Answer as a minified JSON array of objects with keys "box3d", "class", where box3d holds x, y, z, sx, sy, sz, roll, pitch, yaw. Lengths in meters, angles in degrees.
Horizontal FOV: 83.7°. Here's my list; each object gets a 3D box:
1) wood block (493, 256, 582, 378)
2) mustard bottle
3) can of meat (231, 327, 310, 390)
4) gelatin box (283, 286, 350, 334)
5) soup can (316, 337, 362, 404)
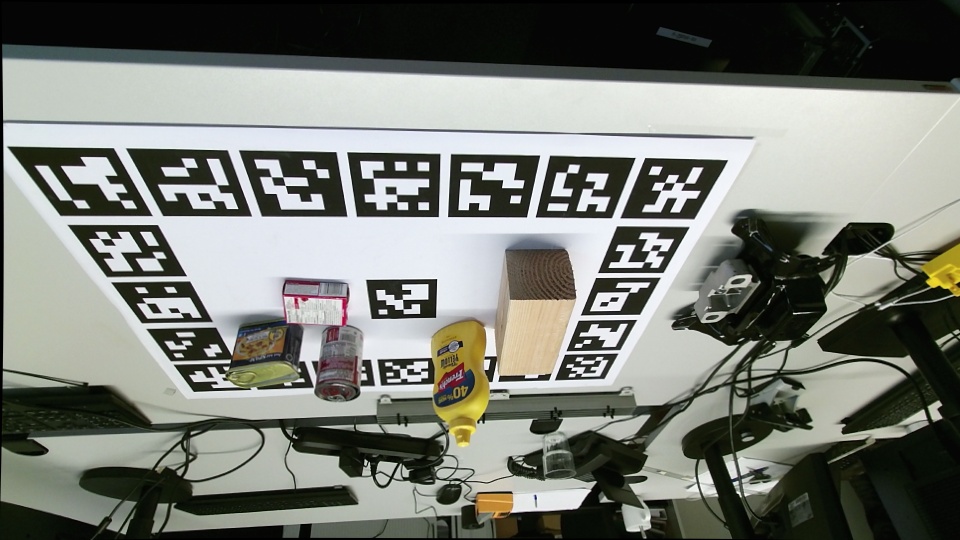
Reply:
[{"box3d":[0.077,0.077,0.797,0.091,0.089,0.206,1,143,-6],"class":"wood block"},{"box3d":[-0.025,0.182,0.837,0.096,0.190,0.058,-17,139,15],"class":"mustard bottle"},{"box3d":[-0.319,0.138,0.827,0.102,0.083,0.058,-8,139,6],"class":"can of meat"},{"box3d":[-0.237,0.059,0.777,0.090,0.030,0.073,4,137,-16],"class":"gelatin box"},{"box3d":[-0.222,0.165,0.842,0.068,0.101,0.068,-4,138,-3],"class":"soup can"}]
